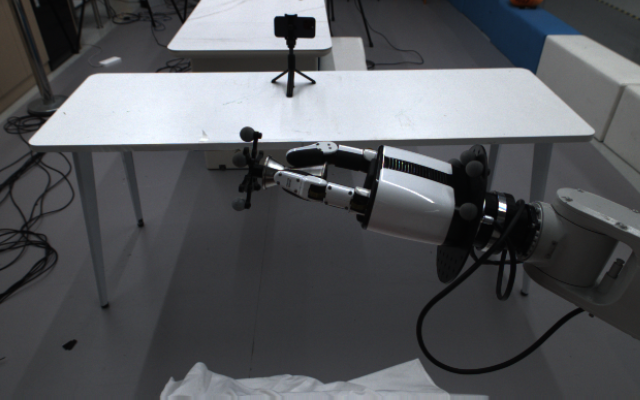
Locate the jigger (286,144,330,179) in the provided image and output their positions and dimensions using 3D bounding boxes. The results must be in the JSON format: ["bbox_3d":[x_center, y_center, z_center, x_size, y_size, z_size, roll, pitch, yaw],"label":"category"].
[{"bbox_3d":[-0.021,-0.029,0.554,0.071,0.043,0.043,8,35,5],"label":"jigger"}]
